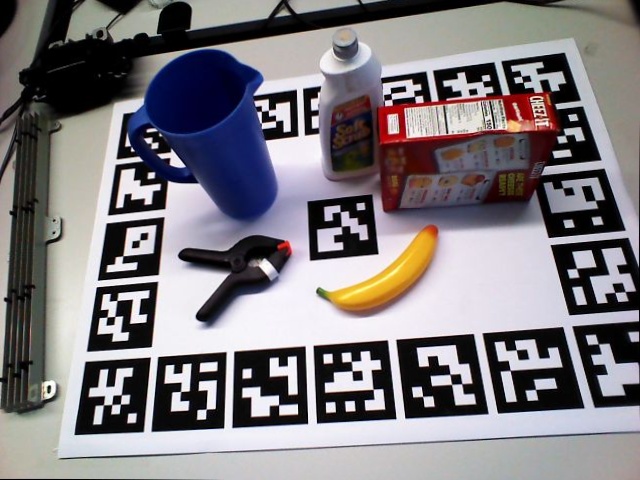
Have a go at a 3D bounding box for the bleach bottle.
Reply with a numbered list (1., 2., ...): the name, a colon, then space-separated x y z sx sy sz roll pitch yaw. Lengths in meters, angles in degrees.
1. bleach bottle: 0.044 -0.175 0.723 0.103 0.251 0.067 -7 61 7

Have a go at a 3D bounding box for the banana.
1. banana: 0.115 0.044 0.725 0.197 0.039 0.074 -37 62 -9

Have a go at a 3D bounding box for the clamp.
1. clamp: -0.105 0.045 0.757 0.165 0.036 0.121 -21 60 -3

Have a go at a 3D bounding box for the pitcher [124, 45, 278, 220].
1. pitcher: -0.142 -0.127 0.710 0.189 0.243 0.133 -22 61 -5

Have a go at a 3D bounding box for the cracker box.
1. cracker box: 0.205 -0.114 0.693 0.214 0.164 0.071 -6 59 9
